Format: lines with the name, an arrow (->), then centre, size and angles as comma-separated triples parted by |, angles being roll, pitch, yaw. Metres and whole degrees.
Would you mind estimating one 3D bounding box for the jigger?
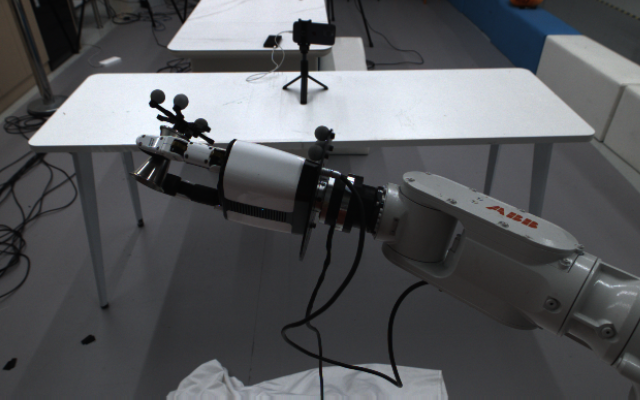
jigger -> -0.188, -0.050, 0.569 | 0.043, 0.043, 0.071 | 19, 73, 23
